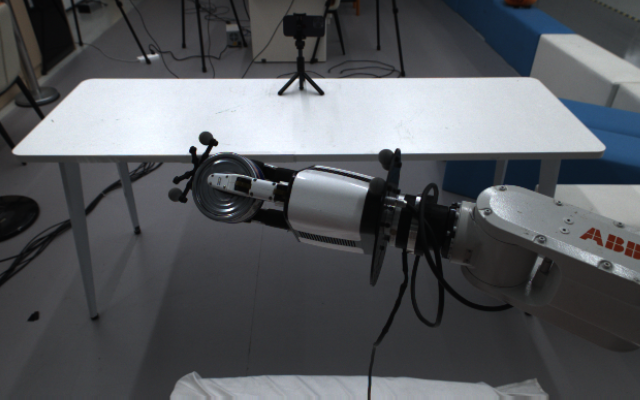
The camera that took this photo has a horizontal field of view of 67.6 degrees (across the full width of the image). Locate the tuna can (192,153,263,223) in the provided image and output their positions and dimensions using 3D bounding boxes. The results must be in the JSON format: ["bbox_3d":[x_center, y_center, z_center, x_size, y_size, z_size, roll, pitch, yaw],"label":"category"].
[{"bbox_3d":[-0.108,-0.011,0.588,0.085,0.085,0.034,9,-4,10],"label":"tuna can"}]
